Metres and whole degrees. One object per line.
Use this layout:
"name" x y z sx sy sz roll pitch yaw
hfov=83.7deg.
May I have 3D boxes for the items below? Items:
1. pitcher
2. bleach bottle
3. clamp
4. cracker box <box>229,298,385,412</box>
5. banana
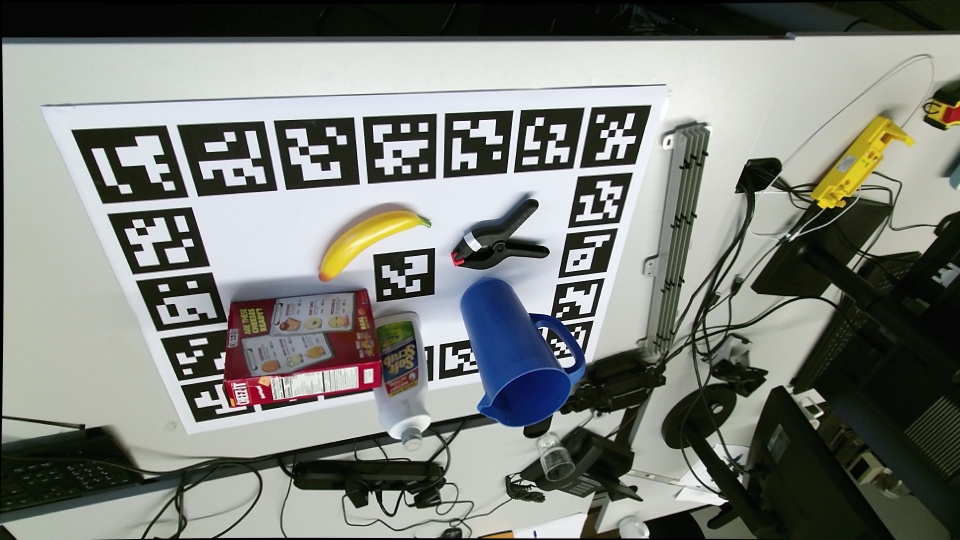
"pitcher" 0.072 0.149 0.911 0.189 0.241 0.133 -20 132 -1
"bleach bottle" -0.117 0.189 0.899 0.103 0.249 0.068 -7 129 -16
"clamp" 0.037 -0.029 0.920 0.165 0.036 0.122 -18 132 -3
"cracker box" -0.267 0.130 0.833 0.214 0.163 0.072 -6 131 -18
"banana" -0.175 -0.029 0.853 0.198 0.038 0.074 -33 131 7
